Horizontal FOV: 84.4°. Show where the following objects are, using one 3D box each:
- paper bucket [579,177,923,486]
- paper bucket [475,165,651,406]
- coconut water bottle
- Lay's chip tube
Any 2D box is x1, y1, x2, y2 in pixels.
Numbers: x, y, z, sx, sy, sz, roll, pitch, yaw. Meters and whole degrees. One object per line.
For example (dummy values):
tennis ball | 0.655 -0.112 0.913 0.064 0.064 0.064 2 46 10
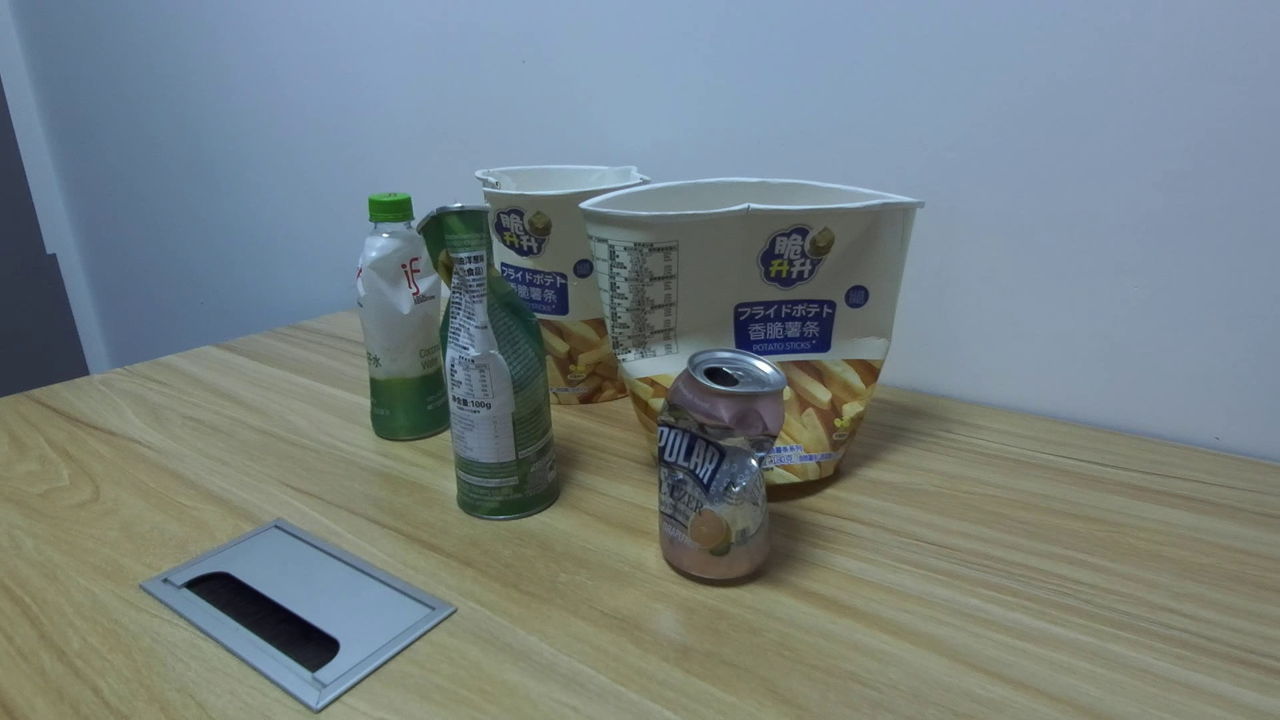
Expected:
paper bucket | 0.082 -0.023 0.504 0.219 0.199 0.147 -18 27 -41
paper bucket | -0.064 -0.075 0.651 0.146 0.197 0.202 -7 21 -13
coconut water bottle | -0.184 -0.033 0.551 0.067 0.187 0.067 1 18 0
Lay's chip tube | -0.099 -0.001 0.455 0.071 0.199 0.079 1 18 23
